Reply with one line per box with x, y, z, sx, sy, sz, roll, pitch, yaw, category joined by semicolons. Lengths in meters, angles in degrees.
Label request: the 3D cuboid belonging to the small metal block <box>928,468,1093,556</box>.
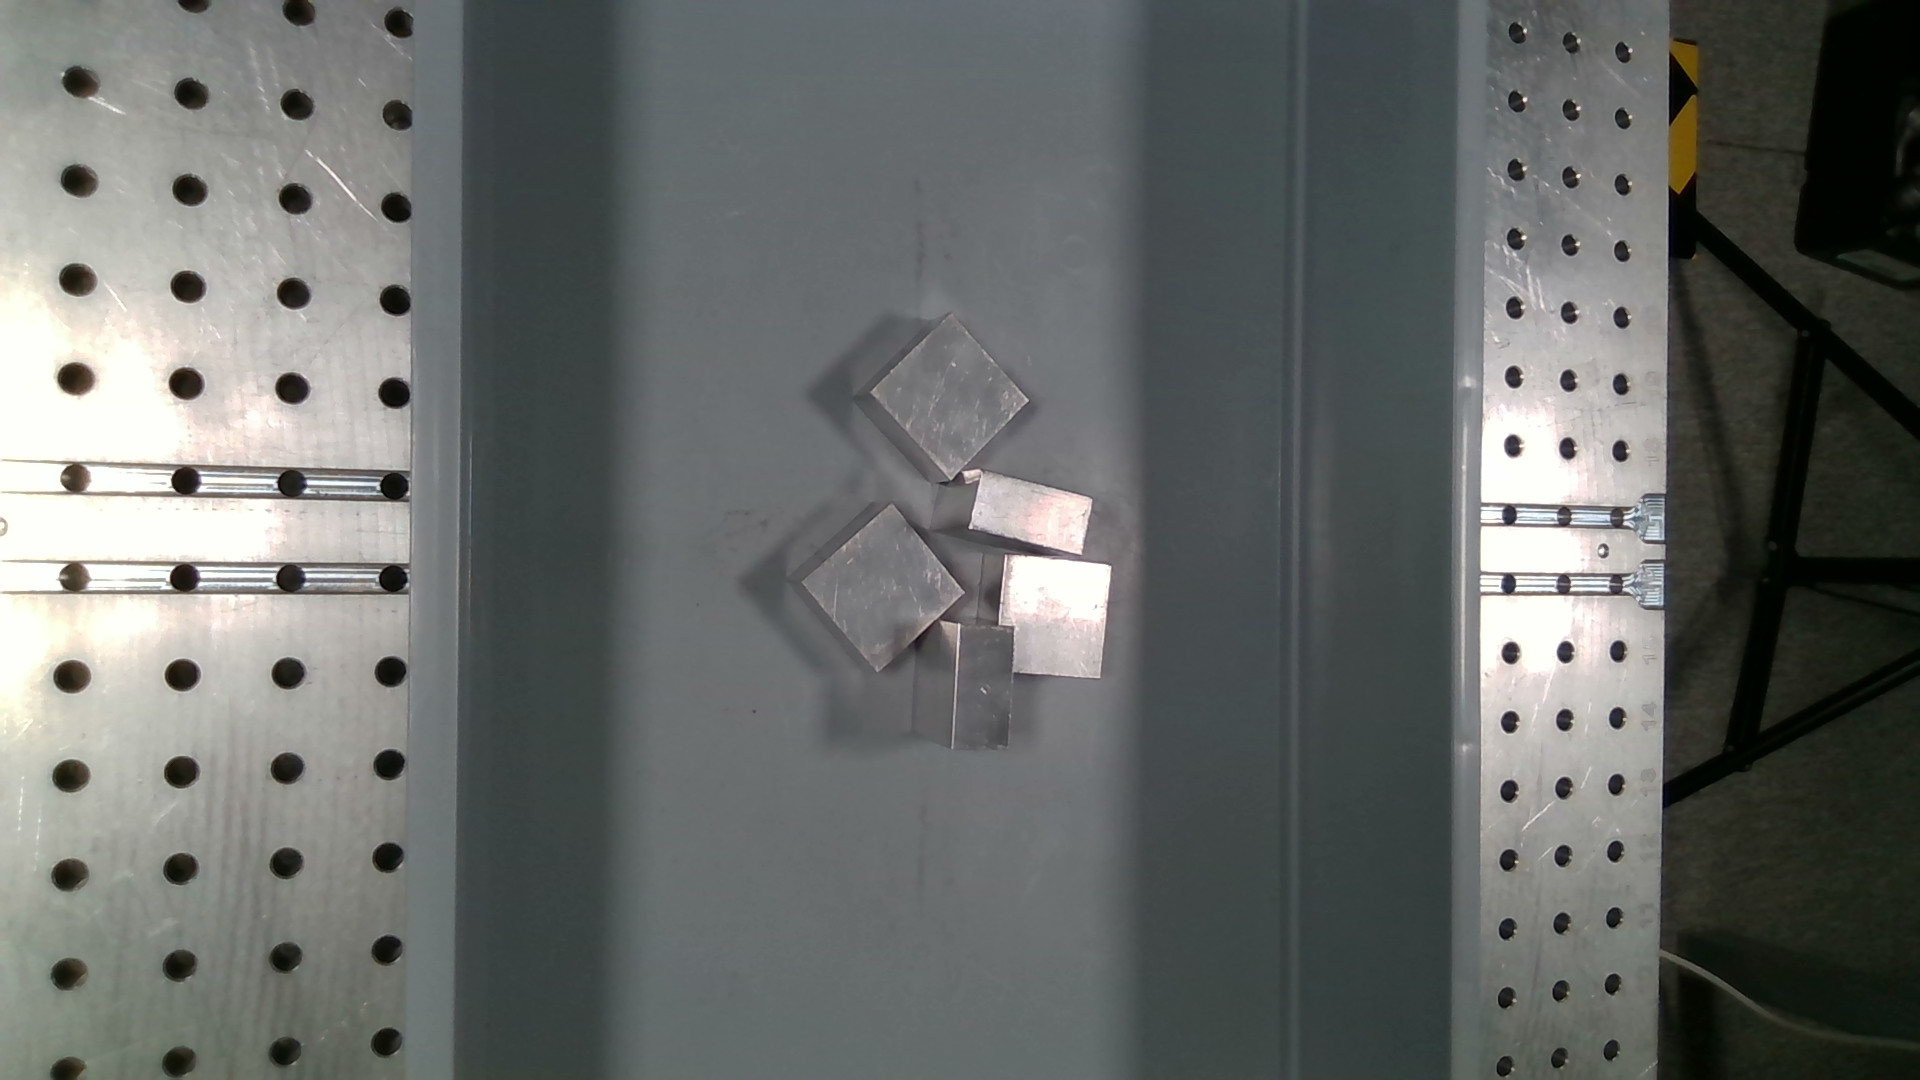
0.020;-0.011;0.578;0.050;0.050;0.025;13;85;-20;small metal block

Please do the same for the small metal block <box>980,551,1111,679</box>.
0.035;0.032;0.598;0.050;0.025;0.050;7;88;-20;small metal block

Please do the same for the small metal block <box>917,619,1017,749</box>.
0.001;0.058;0.571;0.025;0.050;0.050;3;89;-20;small metal block

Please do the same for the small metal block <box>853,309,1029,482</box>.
-0.008;-0.060;0.581;0.050;0.025;0.050;-47;105;-14;small metal block

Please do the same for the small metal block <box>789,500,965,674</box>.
-0.035;0.019;0.571;0.050;0.025;0.050;-43;104;-15;small metal block
